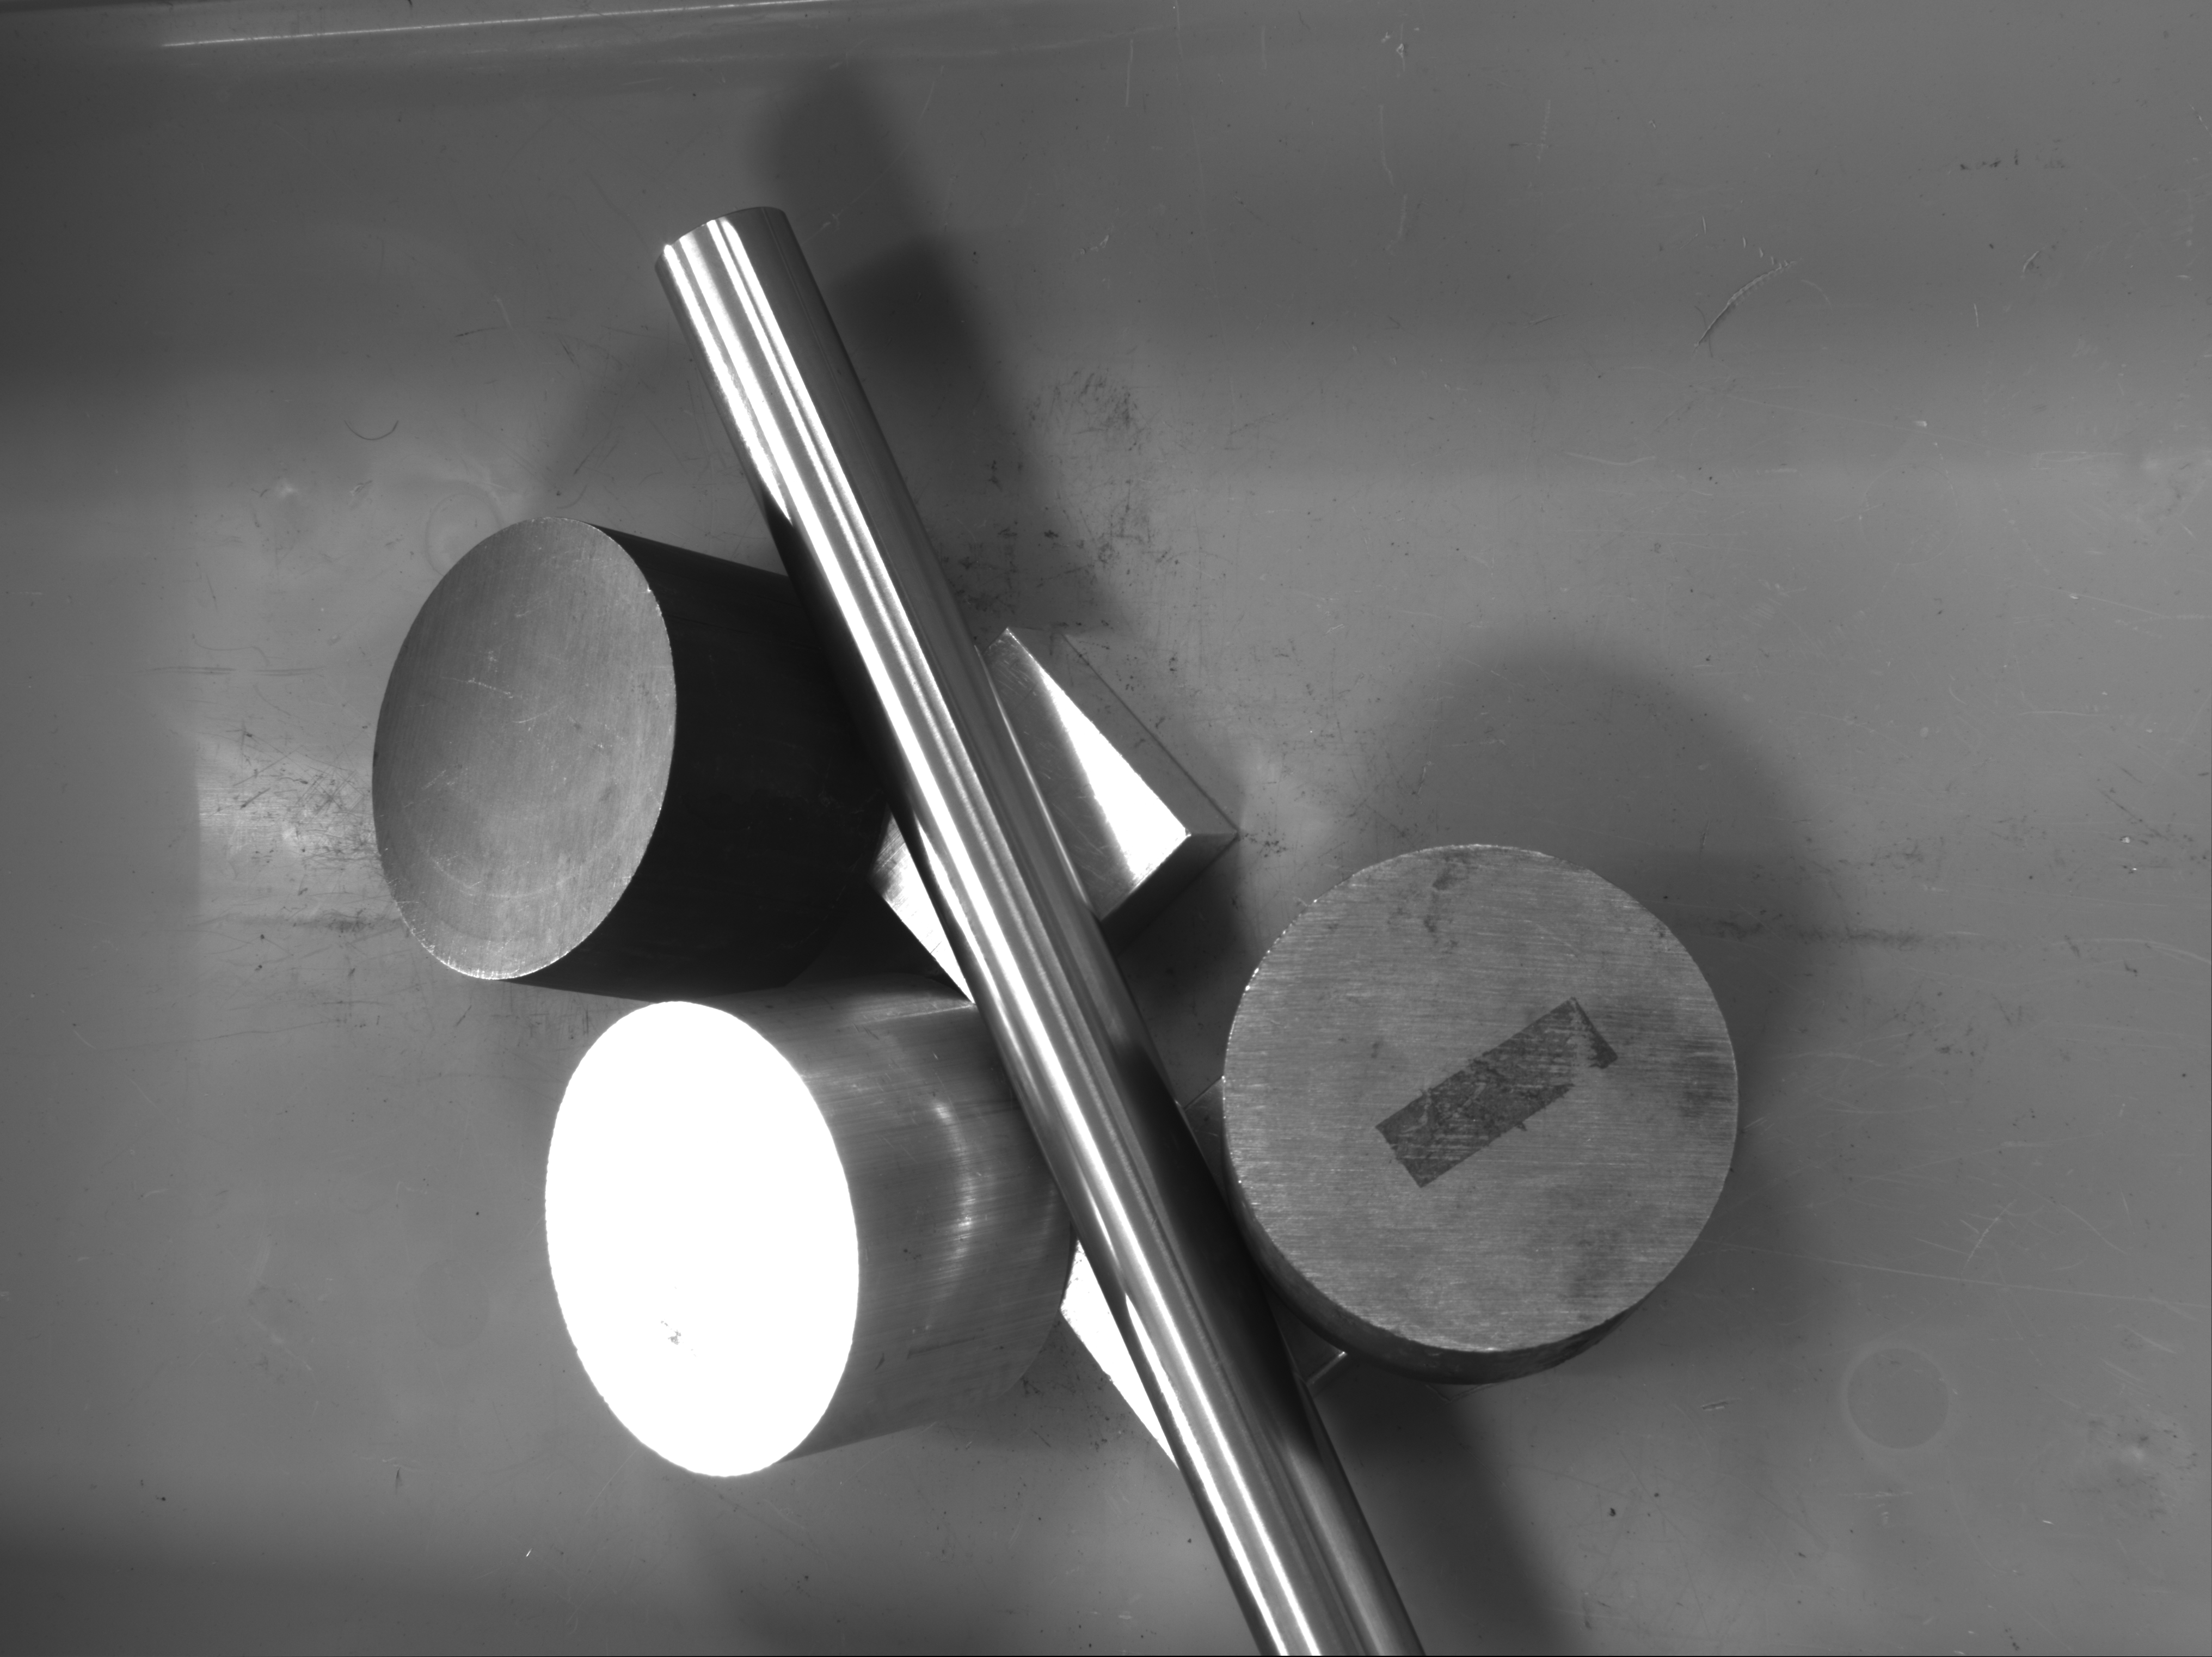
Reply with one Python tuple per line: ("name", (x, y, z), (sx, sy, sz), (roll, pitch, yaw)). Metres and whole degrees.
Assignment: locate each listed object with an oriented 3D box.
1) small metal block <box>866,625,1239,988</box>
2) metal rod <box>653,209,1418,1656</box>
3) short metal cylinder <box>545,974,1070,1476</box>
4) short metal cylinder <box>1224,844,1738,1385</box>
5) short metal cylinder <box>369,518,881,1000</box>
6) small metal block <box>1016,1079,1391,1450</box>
("small metal block", (-0.014, 0.000, 0.651), (0.050, 0.025, 0.050), (-45, 76, 14))
("metal rod", (-0.008, 0.033, 0.621), (0.025, 0.025, 0.300), (-27, 81, 18))
("short metal cylinder", (-0.052, 0.068, 0.637), (0.080, 0.050, 0.080), (5, 97, 43))
("short metal cylinder", (0.059, 0.048, 0.597), (0.080, 0.050, 0.080), (0, 75, 1))
("short metal cylinder", (-0.085, -0.010, 0.648), (0.080, 0.050, 0.080), (-9, 76, 40))
("small metal block", (0.021, 0.077, 0.638), (0.050, 0.025, 0.050), (-42, 77, 15))
